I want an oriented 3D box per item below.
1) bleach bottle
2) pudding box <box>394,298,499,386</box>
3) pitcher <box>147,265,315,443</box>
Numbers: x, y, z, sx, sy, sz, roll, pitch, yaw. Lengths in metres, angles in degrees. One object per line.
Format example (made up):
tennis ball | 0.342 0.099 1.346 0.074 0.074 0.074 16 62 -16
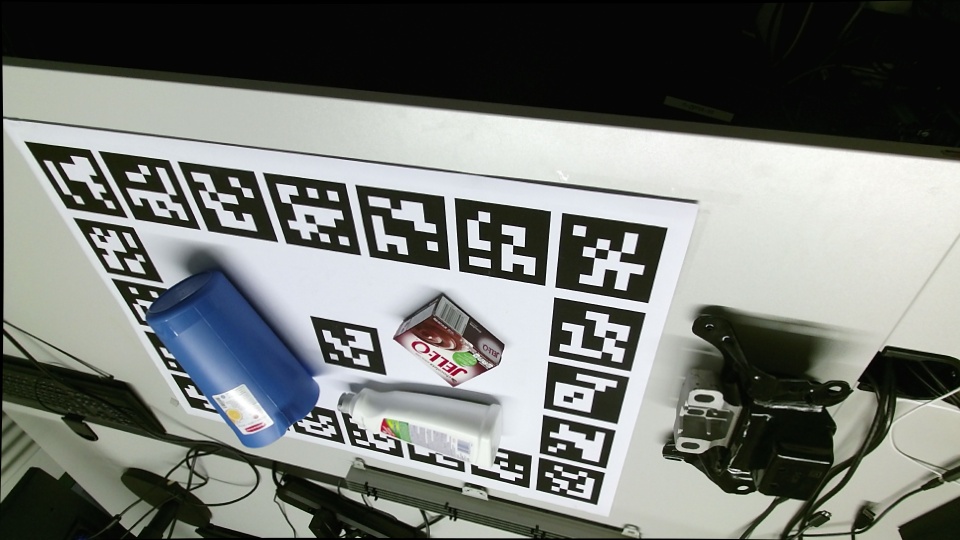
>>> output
bleach bottle | -0.103 0.228 0.797 0.251 0.068 0.102 7 125 16
pudding box | -0.046 0.096 0.682 0.114 0.038 0.090 45 133 -16
pitcher | -0.361 0.115 0.774 0.188 0.133 0.242 15 135 55
